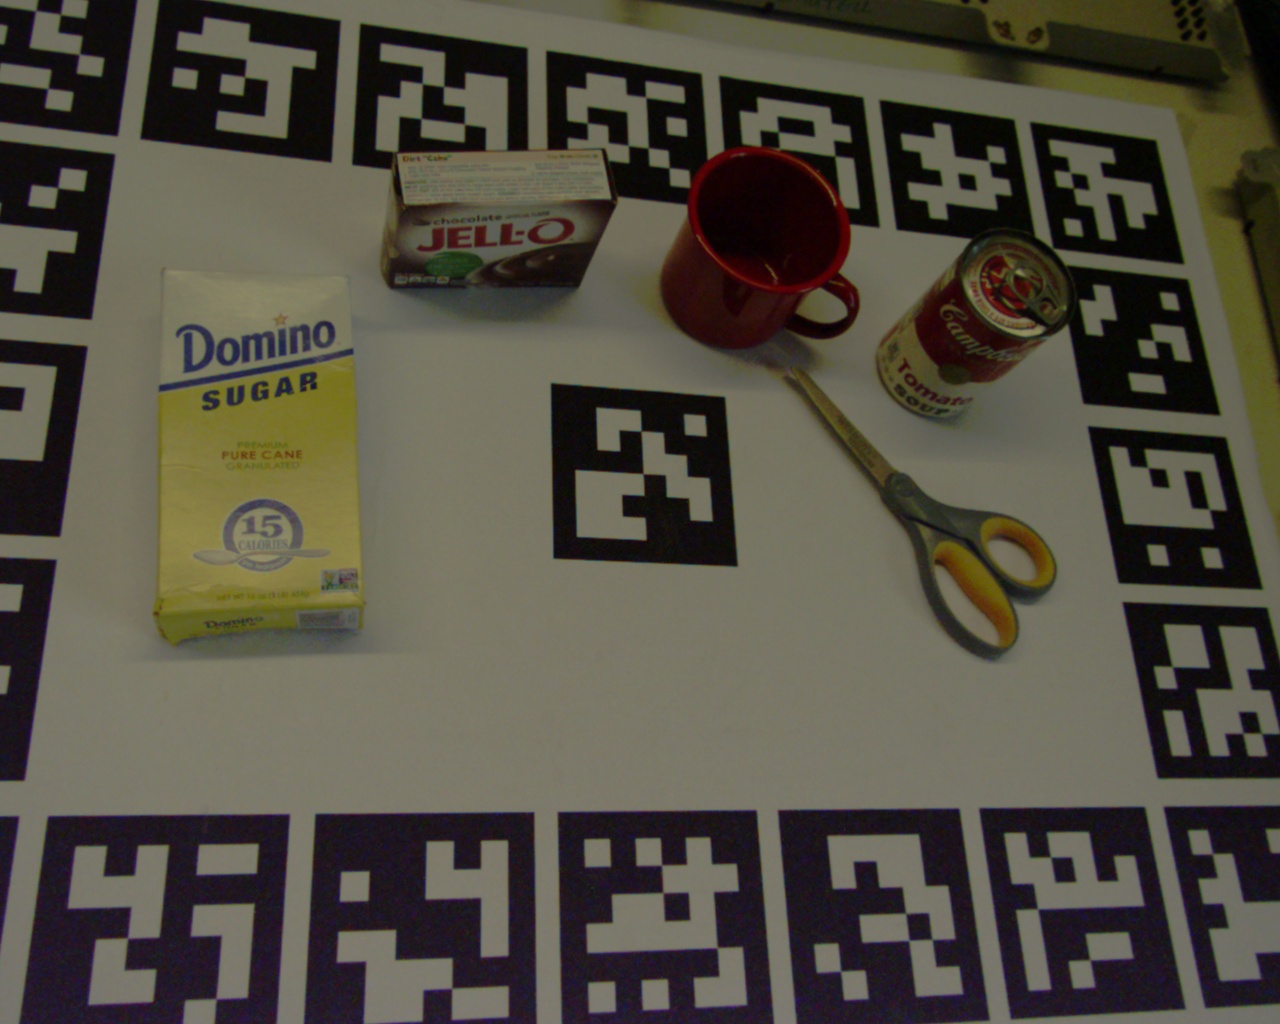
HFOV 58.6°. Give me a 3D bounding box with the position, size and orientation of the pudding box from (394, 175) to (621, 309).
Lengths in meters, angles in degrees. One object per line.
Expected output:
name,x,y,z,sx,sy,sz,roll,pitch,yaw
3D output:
pudding box,-0.076,-0.150,0.635,0.113,0.090,0.039,-7,81,-17

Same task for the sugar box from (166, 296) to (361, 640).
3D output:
sugar box,-0.195,-0.025,0.595,0.092,0.045,0.177,-1,74,-13

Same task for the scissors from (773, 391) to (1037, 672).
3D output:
scissors,0.153,0.000,0.686,0.087,0.016,0.203,-42,87,-13

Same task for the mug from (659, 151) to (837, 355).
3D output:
mug,0.066,-0.143,0.677,0.093,0.082,0.117,-35,82,-20

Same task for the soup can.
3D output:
soup can,0.179,-0.101,0.690,0.067,0.102,0.068,4,70,-13
